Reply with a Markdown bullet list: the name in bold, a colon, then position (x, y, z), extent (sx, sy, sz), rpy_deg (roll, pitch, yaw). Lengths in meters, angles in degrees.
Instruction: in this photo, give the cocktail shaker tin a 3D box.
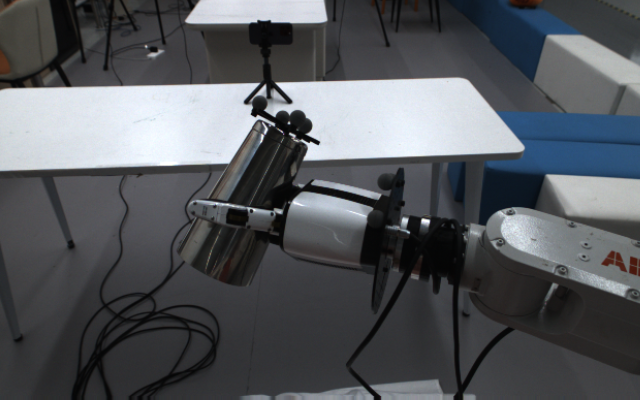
- **cocktail shaker tin**: position (-0.080, -0.002, 0.548), extent (0.093, 0.170, 0.093), rpy_deg (27, 2, -1)
